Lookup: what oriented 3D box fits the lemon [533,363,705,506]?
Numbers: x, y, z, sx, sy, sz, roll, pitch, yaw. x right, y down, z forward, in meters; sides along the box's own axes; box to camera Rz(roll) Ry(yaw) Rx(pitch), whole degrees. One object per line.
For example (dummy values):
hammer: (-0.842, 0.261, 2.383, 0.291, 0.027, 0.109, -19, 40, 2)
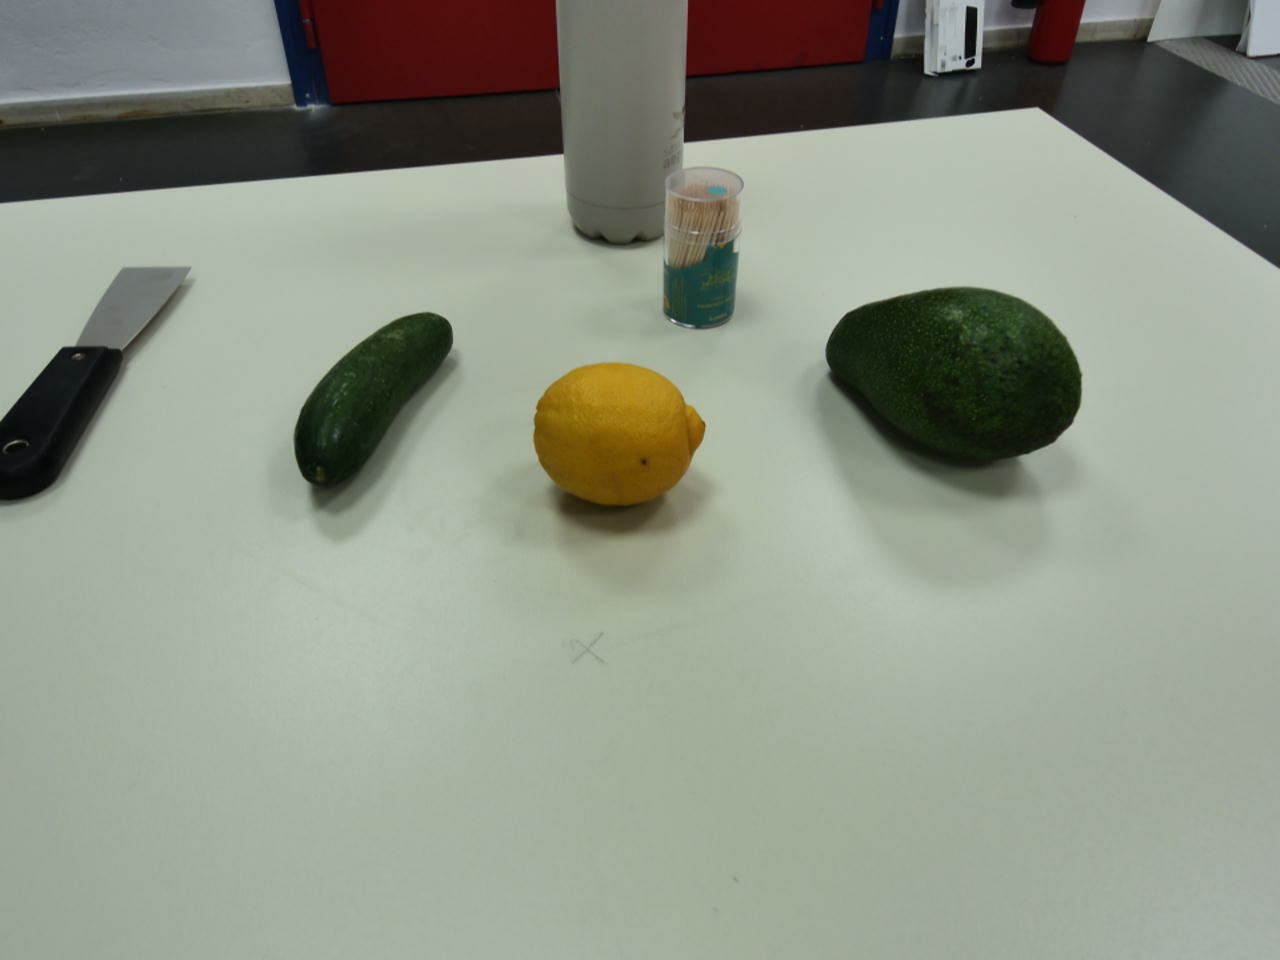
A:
lemon: (-0.010, -0.019, 0.419, 0.067, 0.059, 0.060, 19, 42, 22)
